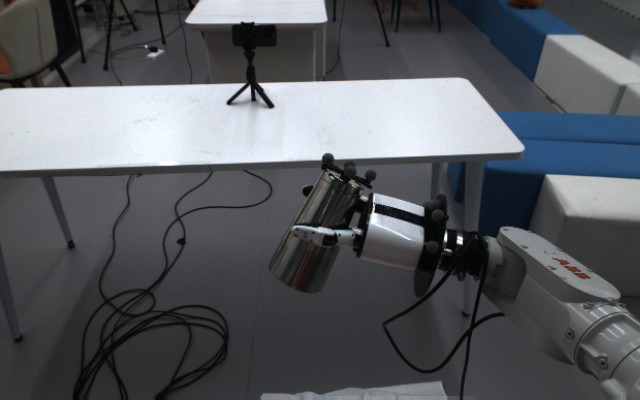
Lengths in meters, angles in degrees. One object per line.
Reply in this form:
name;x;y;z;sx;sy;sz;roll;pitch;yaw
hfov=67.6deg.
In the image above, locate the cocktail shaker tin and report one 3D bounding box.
cocktail shaker tin;0.000;0.041;0.726;0.093;0.170;0.093;24;12;-6
